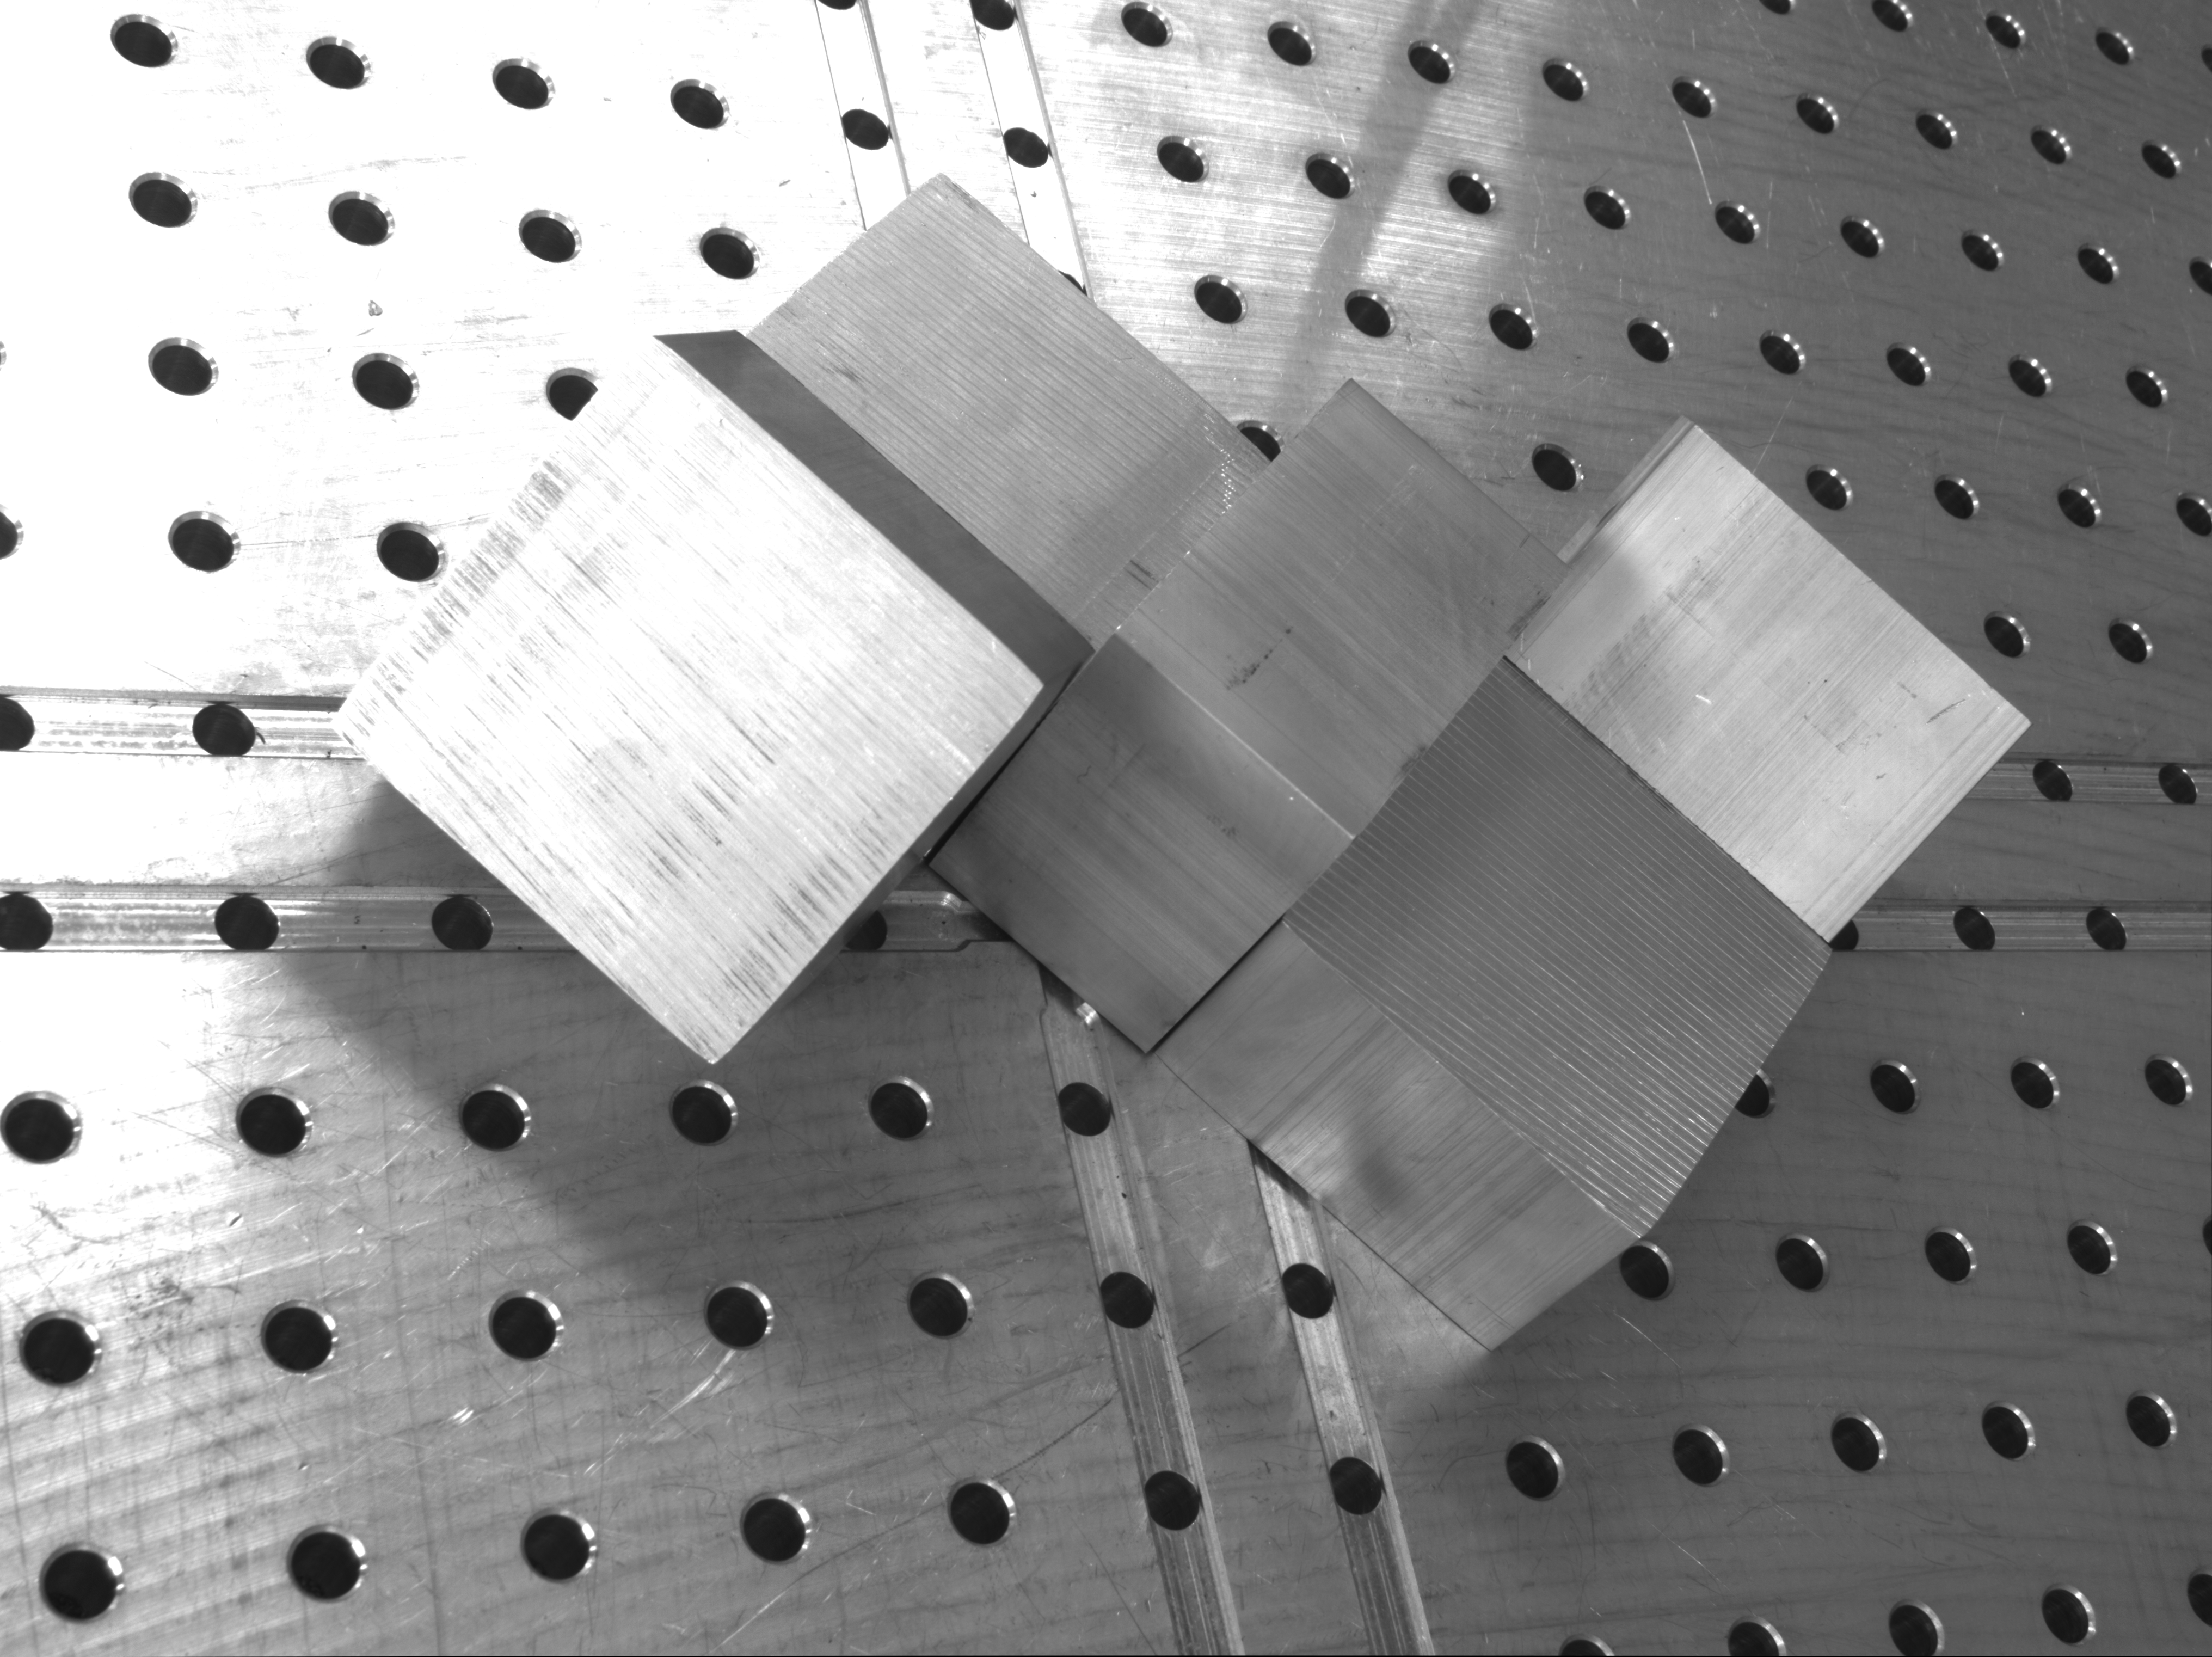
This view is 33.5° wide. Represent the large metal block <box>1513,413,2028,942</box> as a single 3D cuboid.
[{"bbox_3d":[0.119,-0.031,0.682,0.080,0.050,0.080,42,11,0],"label":"large metal block"}]

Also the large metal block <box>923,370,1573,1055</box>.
[{"bbox_3d":[0.023,-0.019,0.631,0.050,0.080,0.080,42,51,-1],"label":"large metal block"}]

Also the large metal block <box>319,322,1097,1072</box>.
[{"bbox_3d":[-0.061,-0.022,0.579,0.080,0.080,0.050,42,12,0],"label":"large metal block"}]

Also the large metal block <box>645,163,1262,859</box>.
[{"bbox_3d":[-0.031,-0.056,0.644,0.080,0.050,0.080,42,52,0],"label":"large metal block"}]

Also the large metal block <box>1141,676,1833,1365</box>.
[{"bbox_3d":[0.067,0.031,0.643,0.080,0.050,0.080,41,51,2],"label":"large metal block"}]
